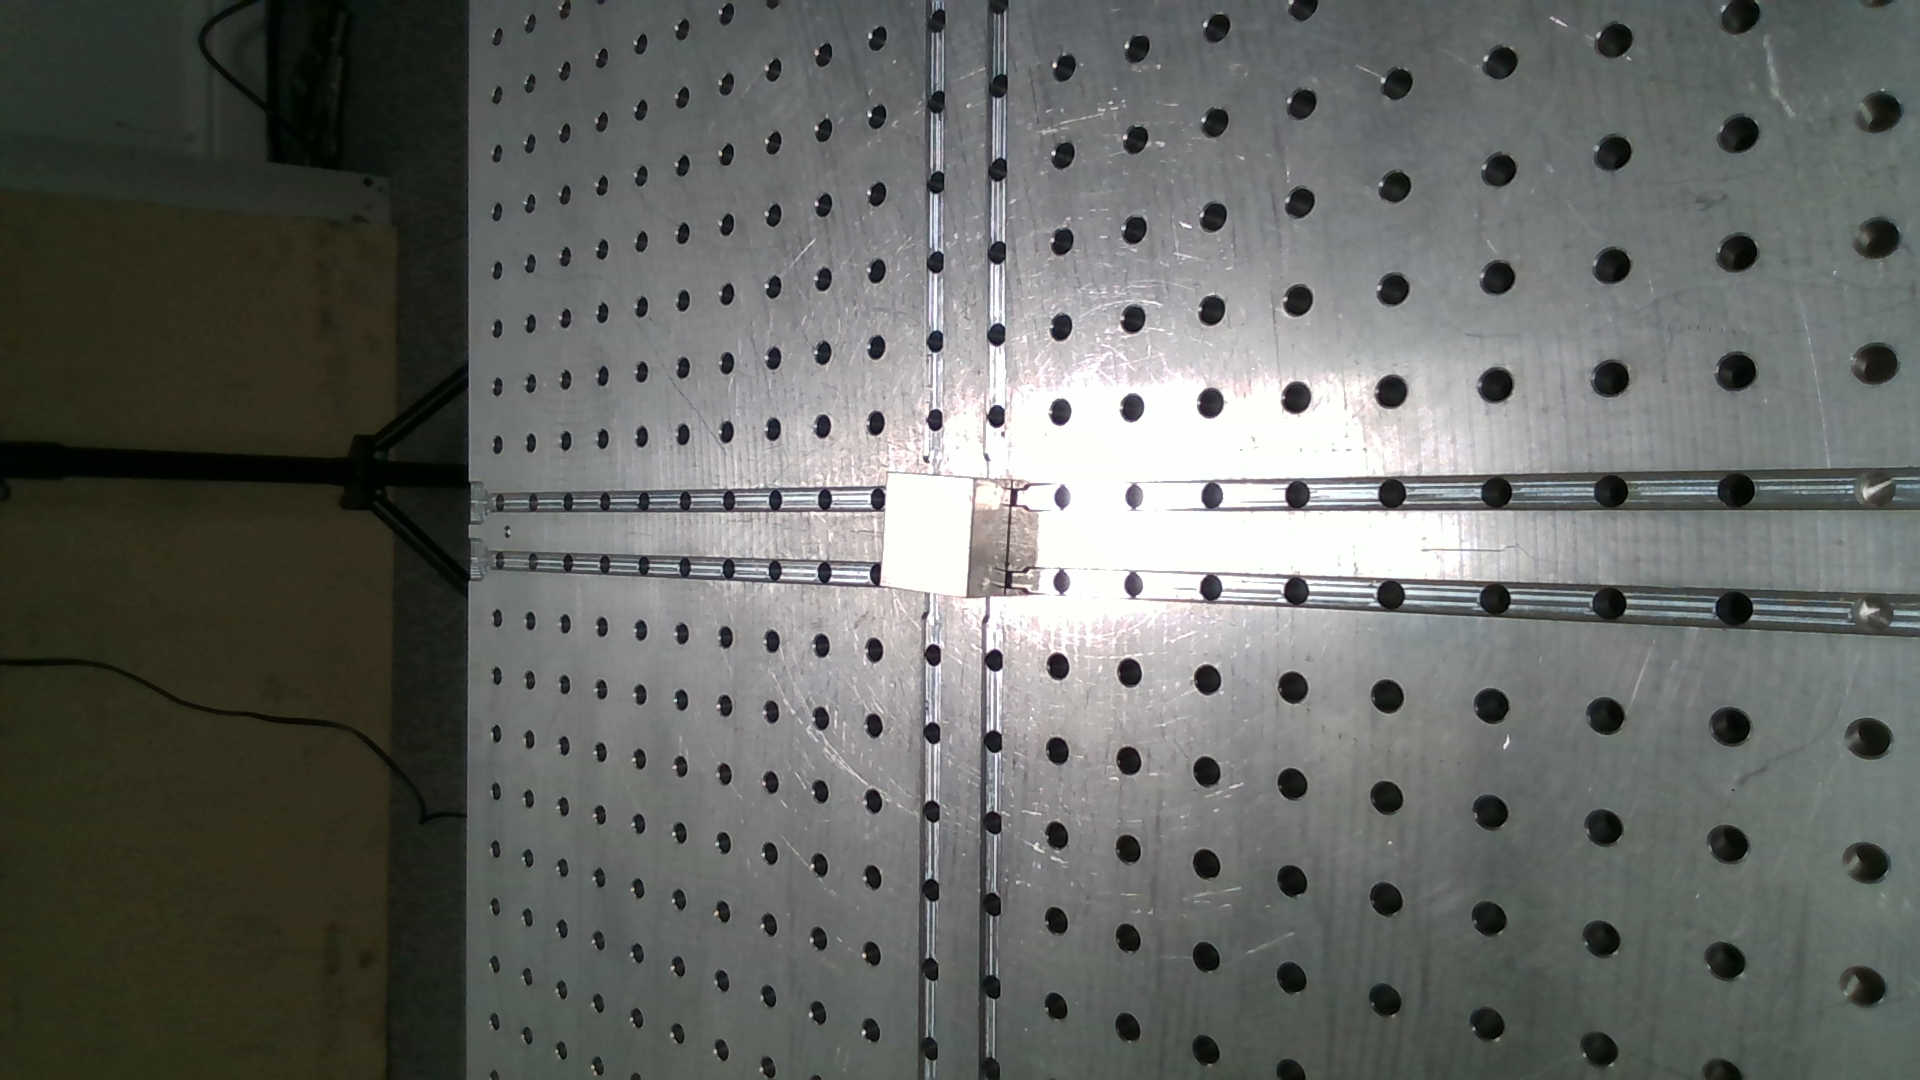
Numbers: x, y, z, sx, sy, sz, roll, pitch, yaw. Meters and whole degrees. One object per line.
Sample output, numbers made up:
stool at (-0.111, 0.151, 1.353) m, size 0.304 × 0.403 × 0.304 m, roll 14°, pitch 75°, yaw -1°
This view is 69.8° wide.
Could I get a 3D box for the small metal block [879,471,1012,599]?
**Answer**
small metal block at (-0.007, -0.003, 0.590) m, size 0.050 × 0.025 × 0.050 m, roll 6°, pitch 95°, yaw 40°
